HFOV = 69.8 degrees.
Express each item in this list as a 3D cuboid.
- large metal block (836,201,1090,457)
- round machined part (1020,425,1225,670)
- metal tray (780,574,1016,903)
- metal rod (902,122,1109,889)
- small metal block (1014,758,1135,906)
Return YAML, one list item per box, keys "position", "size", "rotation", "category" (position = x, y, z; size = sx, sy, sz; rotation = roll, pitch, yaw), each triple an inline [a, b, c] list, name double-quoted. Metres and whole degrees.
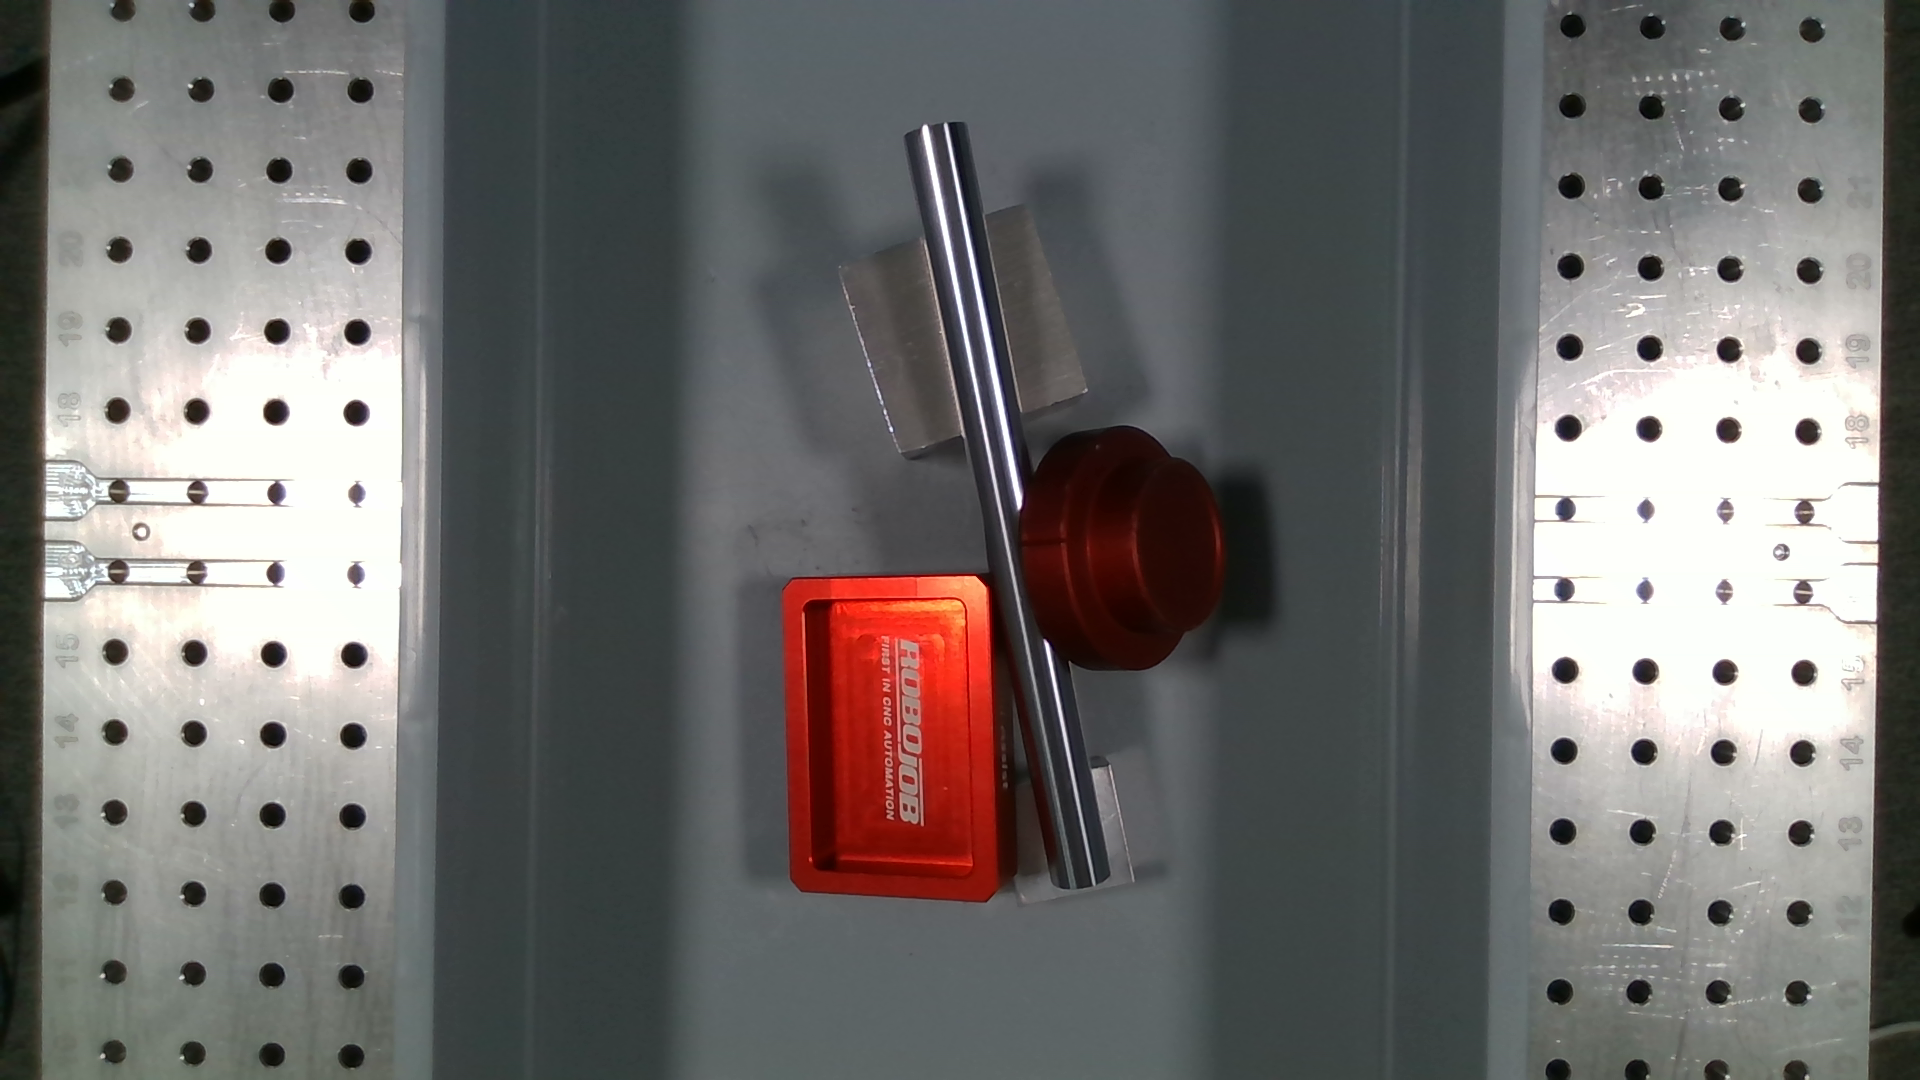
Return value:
- position: [0.001, -0.084, 0.572]
  size: [0.080, 0.050, 0.080]
  rotation: [-18, 90, 0]
  category: "large metal block"
- position: [0.070, 0.003, 0.548]
  size: [0.042, 0.098, 0.098]
  rotation: [-4, 91, 40]
  category: "round machined part"
- position: [-0.026, 0.079, 0.570]
  size: [0.090, 0.030, 0.130]
  rotation: [-1, 91, 19]
  category: "metal tray"
- position: [0.020, -0.009, 0.541]
  size: [0.025, 0.025, 0.300]
  rotation: [-11, 98, 0]
  category: "metal rod"
- position: [0.043, 0.123, 0.587]
  size: [0.050, 0.025, 0.050]
  rotation: [-12, 90, 0]
  category: "small metal block"
